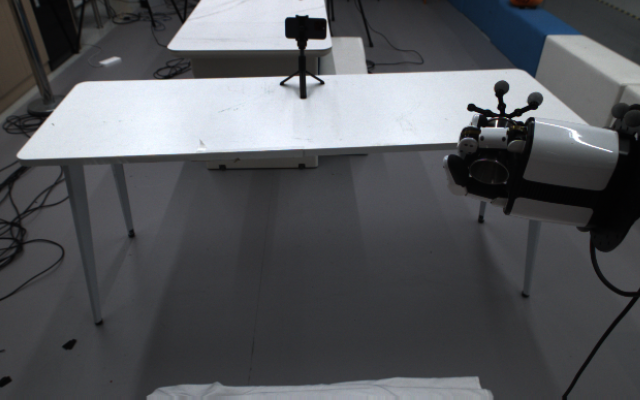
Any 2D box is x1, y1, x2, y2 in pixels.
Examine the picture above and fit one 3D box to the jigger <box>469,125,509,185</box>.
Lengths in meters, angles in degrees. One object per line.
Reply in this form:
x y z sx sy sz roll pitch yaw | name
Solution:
0.202 -0.060 0.555 0.043 0.043 0.071 15 58 18 | jigger
